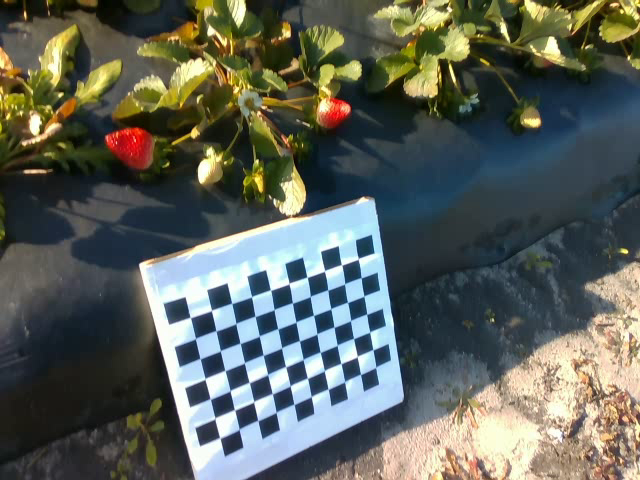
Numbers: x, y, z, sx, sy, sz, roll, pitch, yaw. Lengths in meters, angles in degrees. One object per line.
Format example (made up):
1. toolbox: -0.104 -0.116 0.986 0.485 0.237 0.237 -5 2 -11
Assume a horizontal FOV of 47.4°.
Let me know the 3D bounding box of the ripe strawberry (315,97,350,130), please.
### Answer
1. ripe strawberry: 0.015 -0.129 0.723 0.045 0.037 0.042 -8 30 34

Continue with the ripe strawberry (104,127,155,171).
1. ripe strawberry: -0.167 -0.083 0.630 0.053 0.044 0.036 13 4 -41
